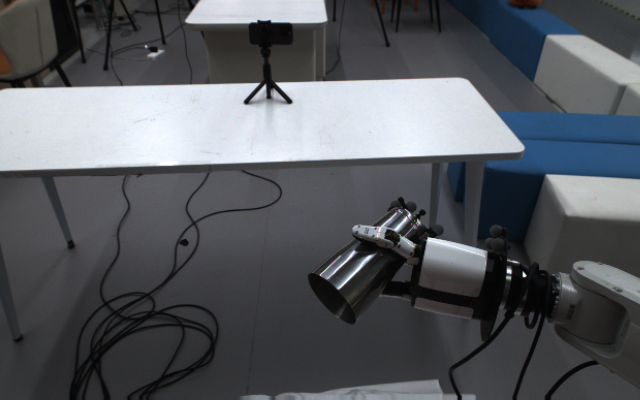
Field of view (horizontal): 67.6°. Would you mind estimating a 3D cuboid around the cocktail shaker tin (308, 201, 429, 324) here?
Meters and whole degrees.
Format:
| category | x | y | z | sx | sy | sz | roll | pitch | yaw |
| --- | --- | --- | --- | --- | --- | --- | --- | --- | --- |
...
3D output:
| category | x | y | z | sx | sy | sz | roll | pitch | yaw |
| --- | --- | --- | --- | --- | --- | --- | --- | --- | --- |
| cocktail shaker tin | 0.074 | 0.081 | 0.699 | 0.170 | 0.093 | 0.093 | -38 | 49 | -23 |
